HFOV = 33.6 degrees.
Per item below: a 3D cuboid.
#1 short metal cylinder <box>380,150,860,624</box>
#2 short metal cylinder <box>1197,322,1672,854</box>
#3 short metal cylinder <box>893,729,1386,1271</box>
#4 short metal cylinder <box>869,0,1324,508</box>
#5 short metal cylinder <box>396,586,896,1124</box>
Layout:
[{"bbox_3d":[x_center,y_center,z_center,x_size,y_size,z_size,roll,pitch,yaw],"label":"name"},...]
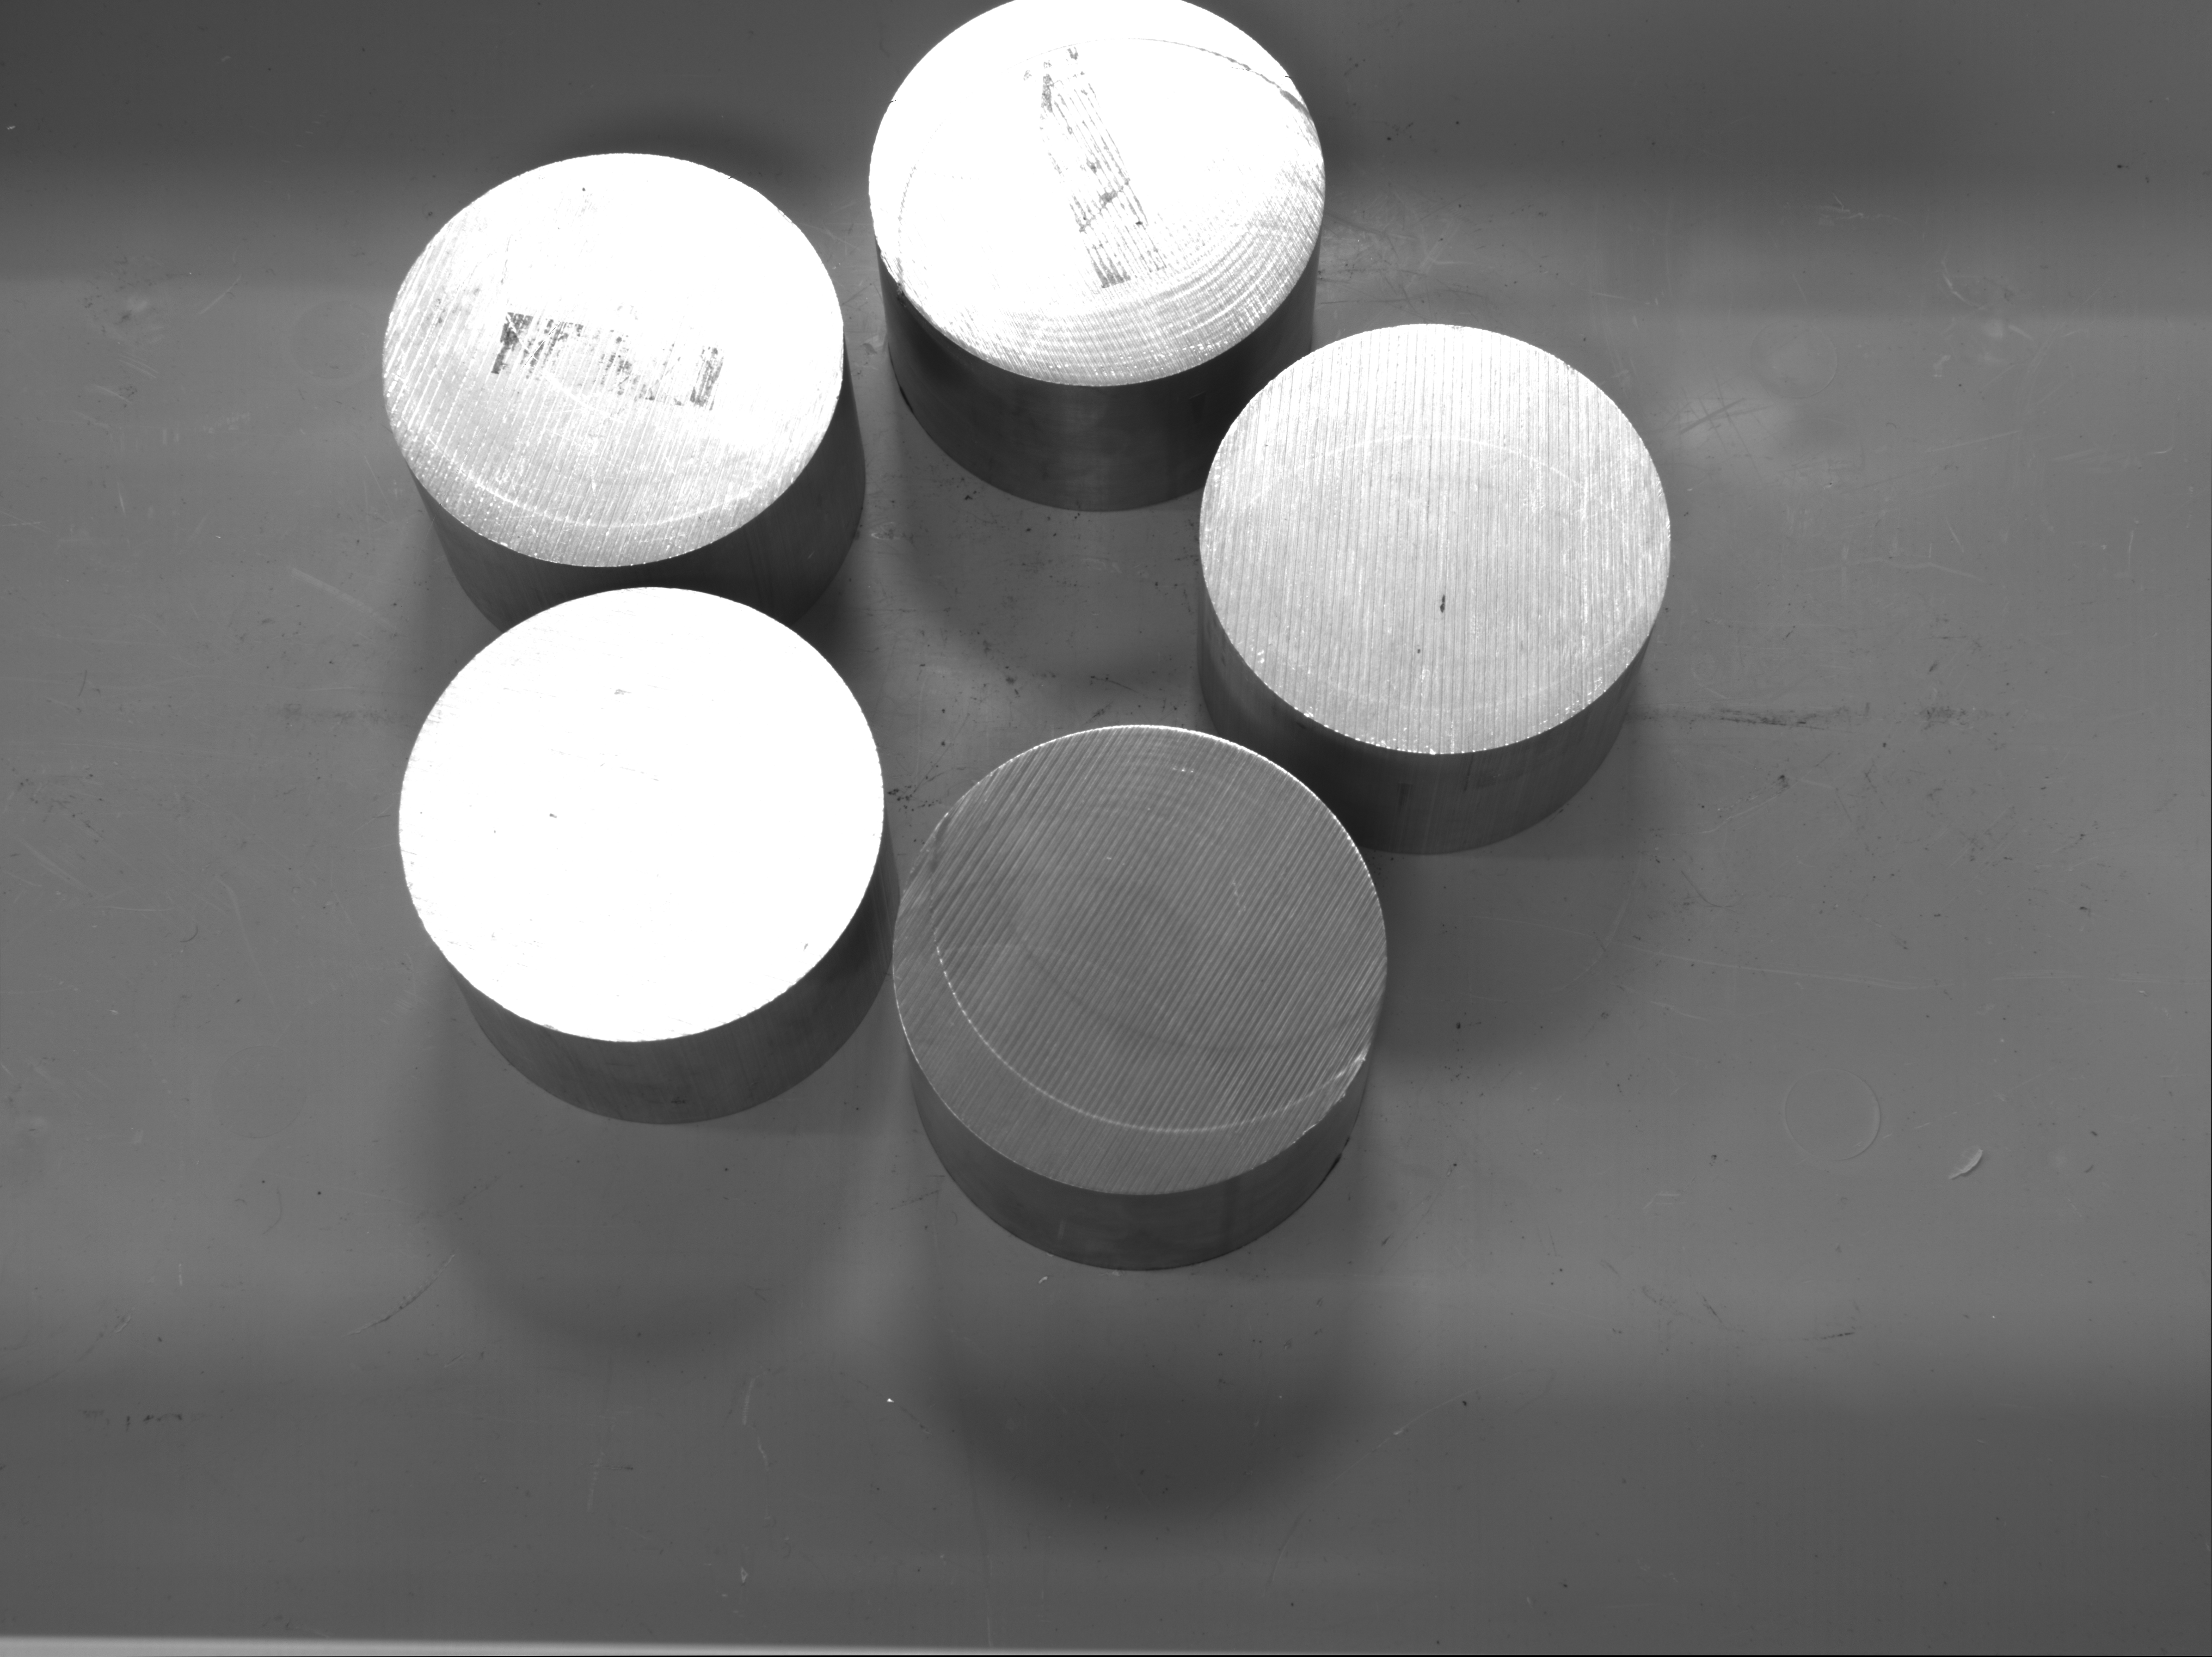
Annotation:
[{"bbox_3d":[-0.085,-0.073,0.657,0.080,0.050,0.080,0,70,0],"label":"short metal cylinder"},{"bbox_3d":[0.056,-0.042,0.645,0.080,0.050,0.080,0,70,0],"label":"short metal cylinder"},{"bbox_3d":[0.006,0.030,0.619,0.080,0.050,0.080,0,70,0],"label":"short metal cylinder"},{"bbox_3d":[-0.002,-0.105,0.668,0.080,0.050,0.080,0,70,0],"label":"short metal cylinder"},{"bbox_3d":[-0.077,0.005,0.628,0.080,0.050,0.080,0,70,0],"label":"short metal cylinder"}]
